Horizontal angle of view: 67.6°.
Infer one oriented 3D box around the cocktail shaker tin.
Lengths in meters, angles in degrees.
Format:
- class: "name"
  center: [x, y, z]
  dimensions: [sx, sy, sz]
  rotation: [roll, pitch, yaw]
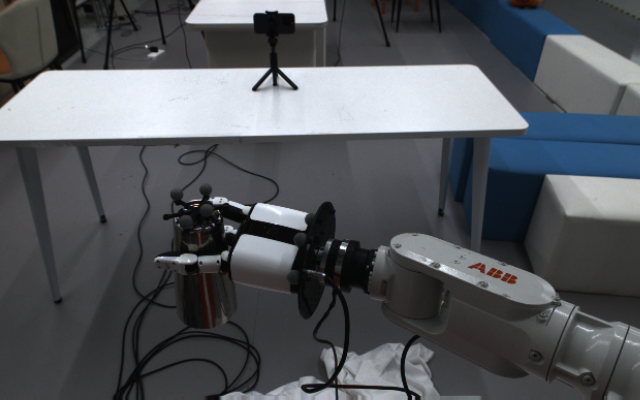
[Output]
- class: "cocktail shaker tin"
  center: [-0.168, 0.091, 0.703]
  dimensions: [0.093, 0.170, 0.093]
  rotation: [3, 33, -2]
